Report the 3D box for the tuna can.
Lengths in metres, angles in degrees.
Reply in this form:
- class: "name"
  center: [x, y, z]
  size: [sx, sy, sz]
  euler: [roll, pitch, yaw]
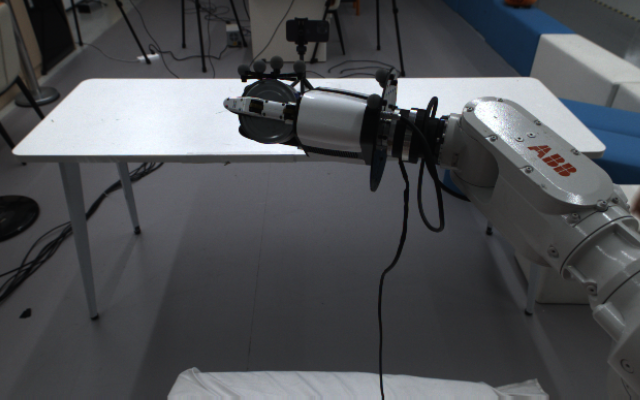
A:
- class: "tuna can"
  center: [-0.065, -0.119, 0.657]
  size: [0.085, 0.085, 0.034]
  euler: [12, 8, 14]
